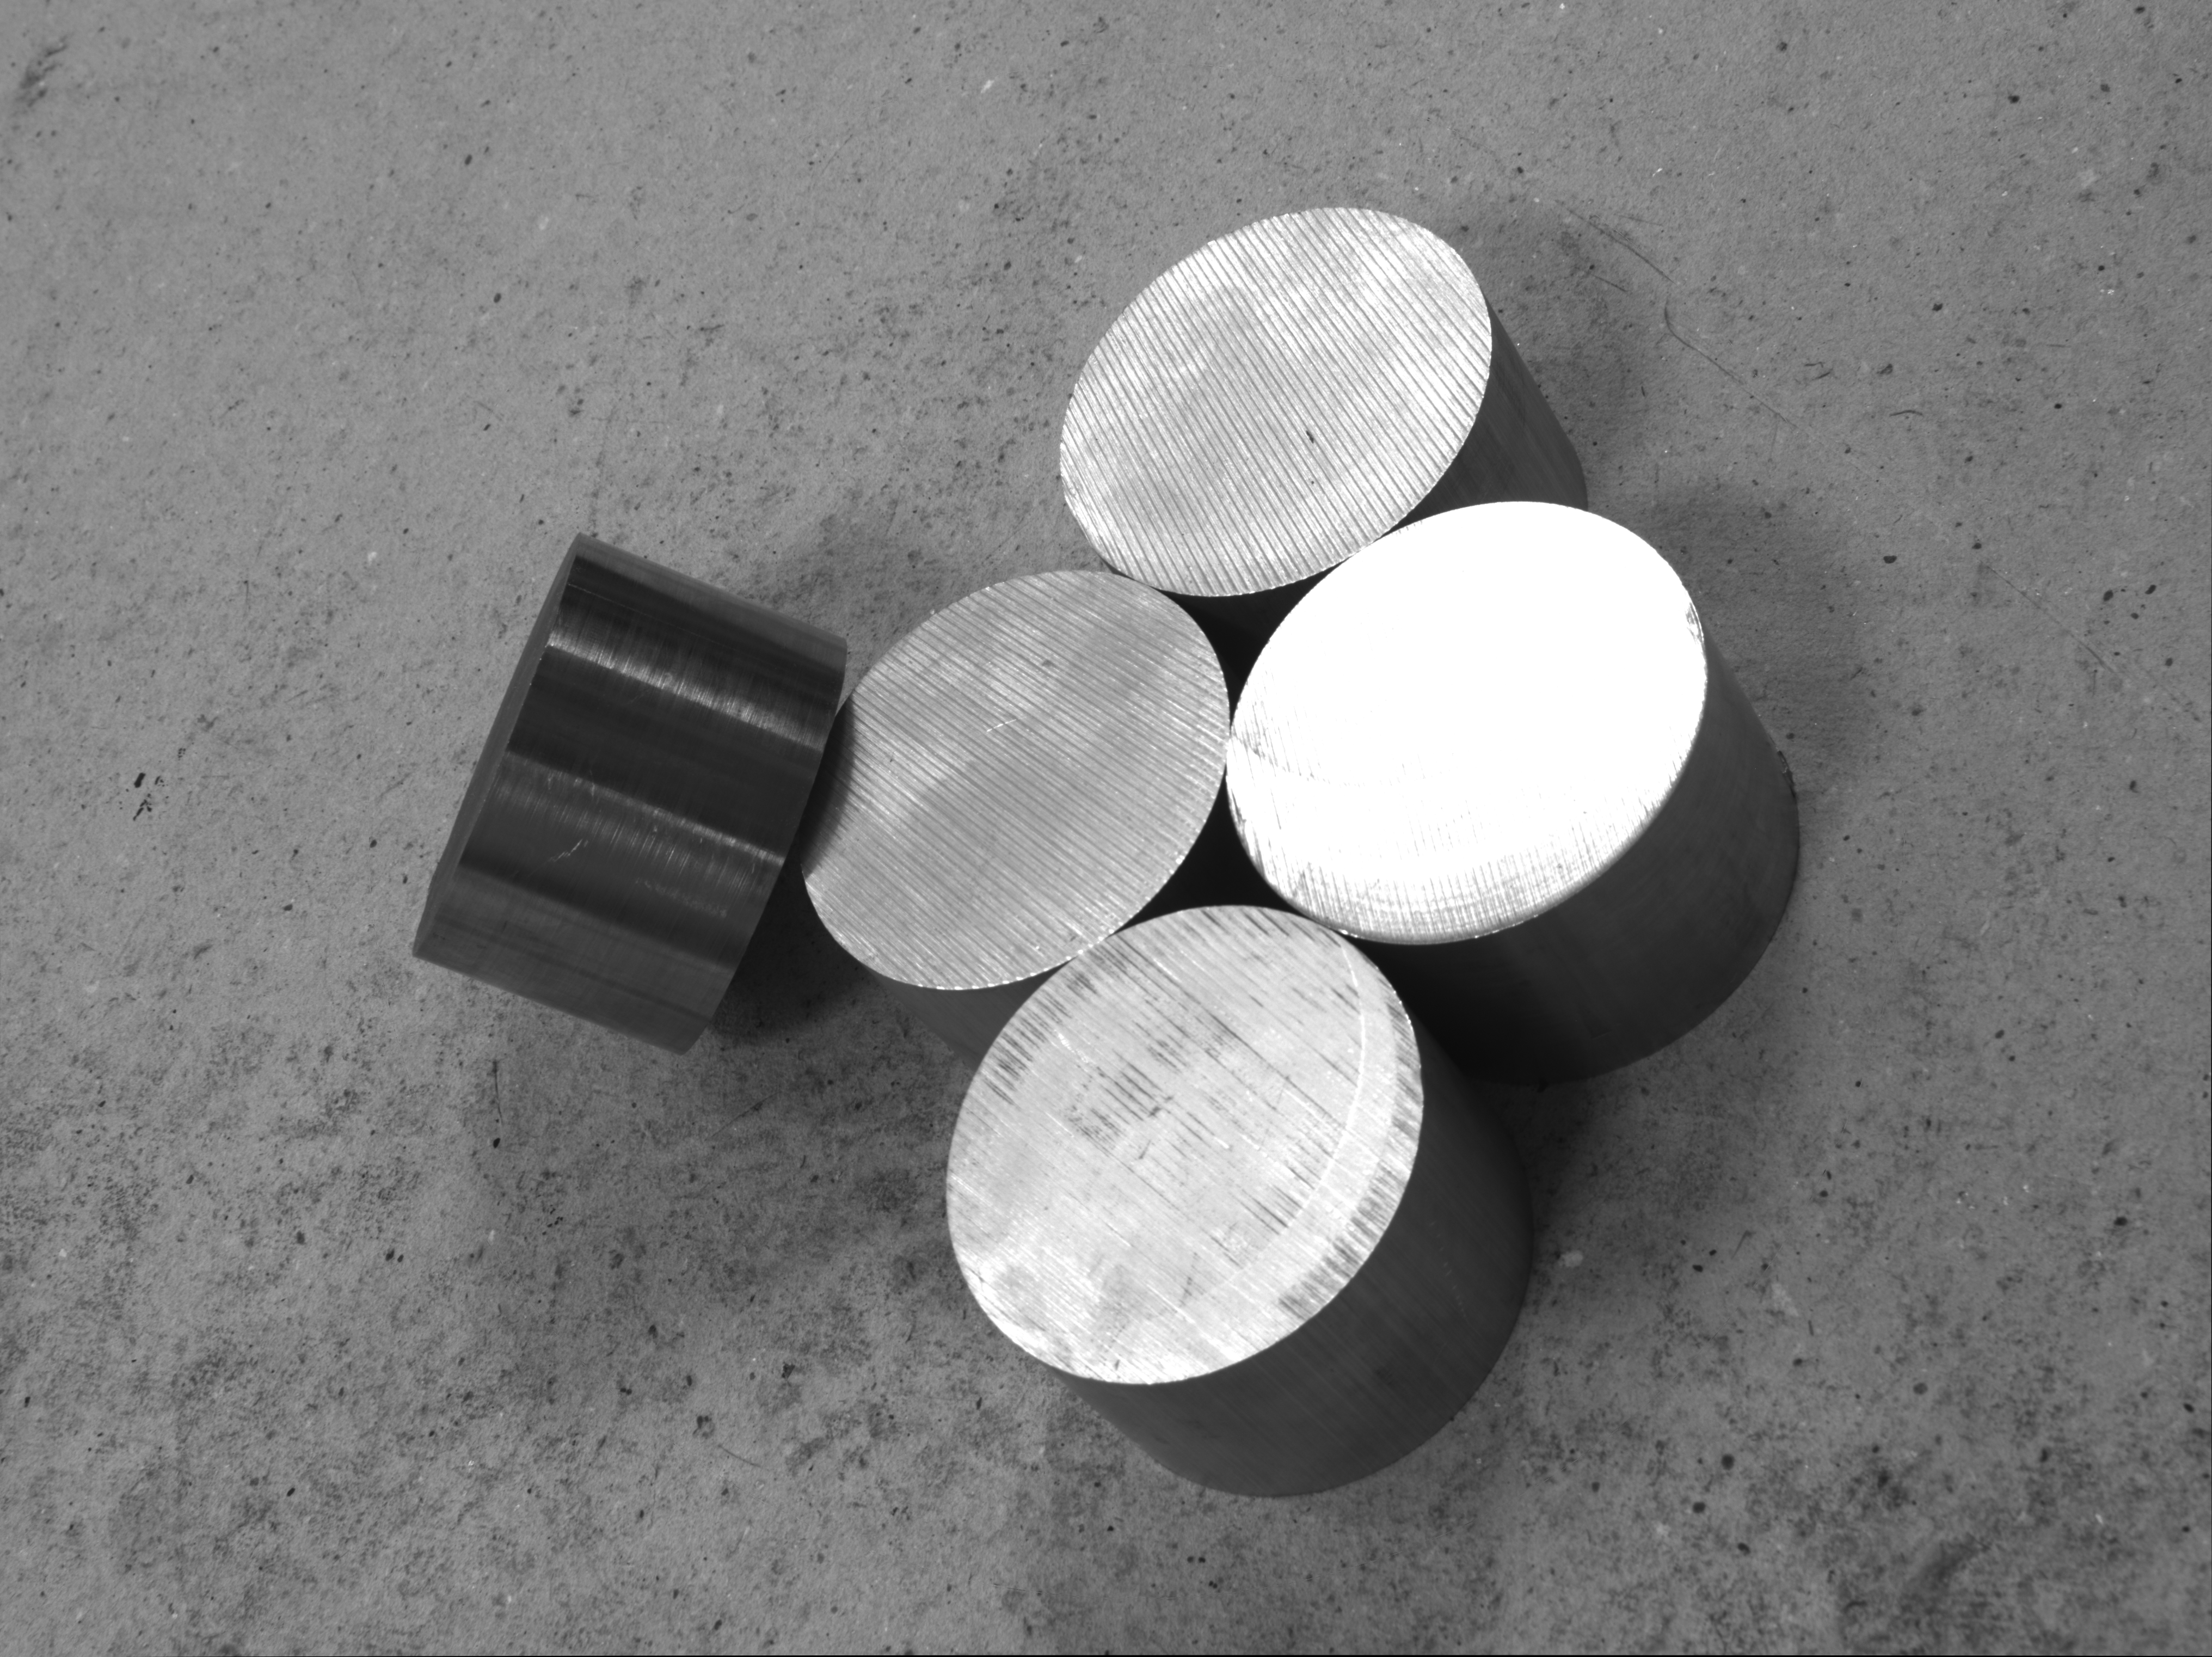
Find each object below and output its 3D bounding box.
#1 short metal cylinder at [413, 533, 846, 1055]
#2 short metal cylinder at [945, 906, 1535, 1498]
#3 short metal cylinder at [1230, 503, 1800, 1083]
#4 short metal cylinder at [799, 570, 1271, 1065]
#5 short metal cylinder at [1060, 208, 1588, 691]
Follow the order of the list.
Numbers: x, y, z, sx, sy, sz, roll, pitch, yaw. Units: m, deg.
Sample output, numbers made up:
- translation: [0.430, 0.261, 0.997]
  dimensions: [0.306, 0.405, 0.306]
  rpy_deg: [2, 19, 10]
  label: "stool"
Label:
- translation: [-0.085, -0.006, 0.652]
  dimensions: [0.080, 0.050, 0.080]
  rpy_deg: [-158, 90, -78]
  label: "short metal cylinder"
- translation: [0.022, 0.059, 0.580]
  dimensions: [0.080, 0.050, 0.080]
  rpy_deg: [-13, 56, 21]
  label: "short metal cylinder"
- translation: [0.067, -0.006, 0.596]
  dimensions: [0.080, 0.050, 0.080]
  rpy_deg: [-13, 56, 21]
  label: "short metal cylinder"
- translation: [-0.005, 0.003, 0.630]
  dimensions: [0.080, 0.050, 0.080]
  rpy_deg: [-13, 56, 21]
  label: "short metal cylinder"
- translation: [0.039, -0.062, 0.646]
  dimensions: [0.080, 0.050, 0.080]
  rpy_deg: [-13, 56, 21]
  label: "short metal cylinder"
